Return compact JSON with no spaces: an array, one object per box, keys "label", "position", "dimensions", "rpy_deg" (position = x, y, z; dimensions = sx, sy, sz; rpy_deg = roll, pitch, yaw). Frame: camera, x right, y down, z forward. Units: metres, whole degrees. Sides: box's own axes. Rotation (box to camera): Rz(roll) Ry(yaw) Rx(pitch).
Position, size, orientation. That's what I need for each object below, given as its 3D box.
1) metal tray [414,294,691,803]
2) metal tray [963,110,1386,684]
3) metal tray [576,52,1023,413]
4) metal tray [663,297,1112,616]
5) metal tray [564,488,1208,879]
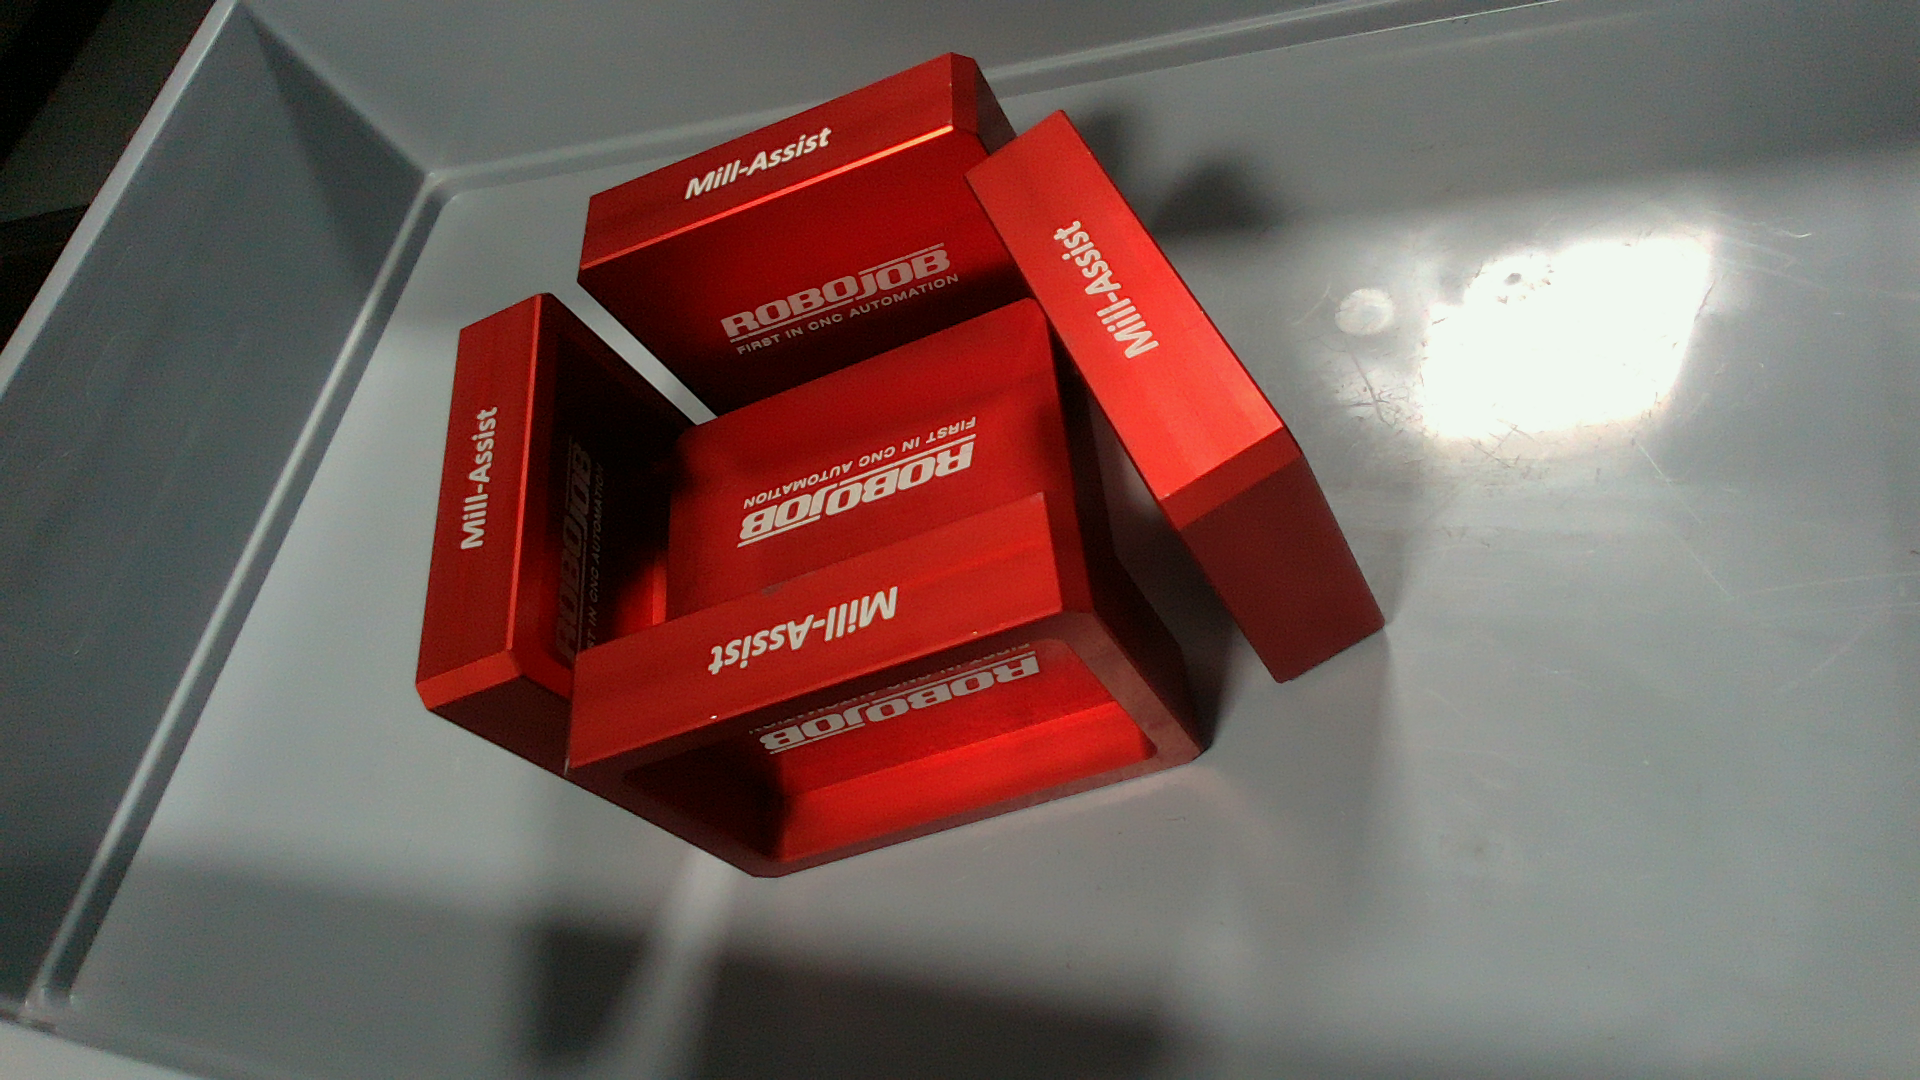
[{"label":"metal tray","position":[-0.111,0.003,0.408],"dimensions":[0.030,0.090,0.130],"rpy_deg":[-19,54,17]},{"label":"metal tray","position":[0.052,-0.037,0.345],"dimensions":[0.030,0.090,0.130],"rpy_deg":[-32,51,9]},{"label":"metal tray","position":[-0.038,-0.085,0.423],"dimensions":[0.130,0.090,0.030],"rpy_deg":[-15,55,20]},{"label":"metal tray","position":[-0.025,-0.010,0.407],"dimensions":[0.130,0.030,0.090],"rpy_deg":[-19,54,18]},{"label":"metal tray","position":[-0.016,0.041,0.333],"dimensions":[0.130,0.090,0.030],"rpy_deg":[-19,54,17]}]
